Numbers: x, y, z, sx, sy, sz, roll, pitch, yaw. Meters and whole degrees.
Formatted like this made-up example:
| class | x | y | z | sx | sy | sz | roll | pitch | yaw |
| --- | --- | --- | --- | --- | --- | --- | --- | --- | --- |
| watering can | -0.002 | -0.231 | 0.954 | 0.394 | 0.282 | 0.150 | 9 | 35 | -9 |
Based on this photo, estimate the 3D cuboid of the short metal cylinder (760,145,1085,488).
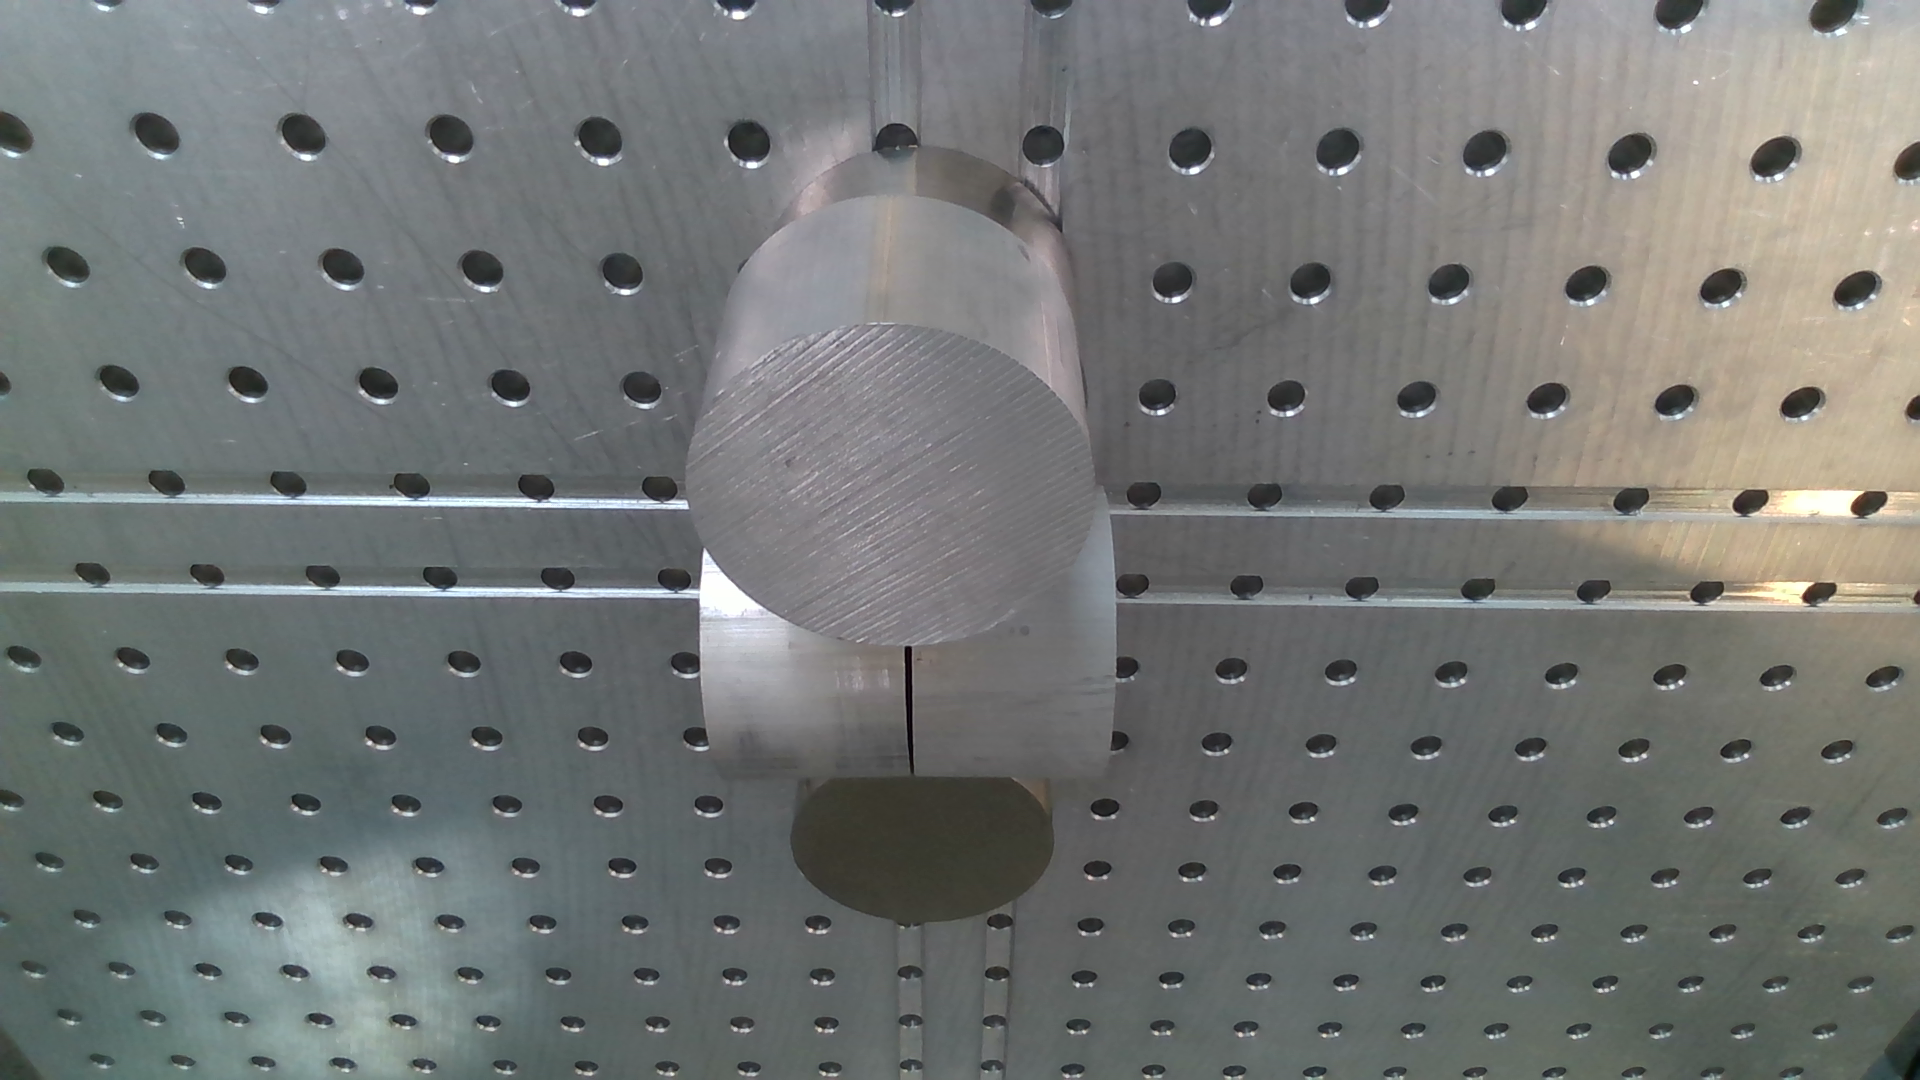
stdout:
| class | x | y | z | sx | sy | sz | roll | pitch | yaw |
| --- | --- | --- | --- | --- | --- | --- | --- | --- | --- |
| short metal cylinder | -0.011 | -0.048 | 0.335 | 0.080 | 0.050 | 0.080 | 0 | 130 | 0 |

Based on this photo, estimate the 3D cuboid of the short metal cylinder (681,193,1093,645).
| class | x | y | z | sx | sy | sz | roll | pitch | yaw |
| --- | --- | --- | --- | --- | --- | --- | --- | --- | --- |
| short metal cylinder | -0.014 | -0.024 | 0.288 | 0.080 | 0.050 | 0.080 | 0 | 130 | 0 |

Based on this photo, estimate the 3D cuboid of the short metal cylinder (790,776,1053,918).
| class | x | y | z | sx | sy | sz | roll | pitch | yaw |
| --- | --- | --- | --- | --- | --- | --- | --- | --- | --- |
| short metal cylinder | -0.012 | 0.076 | 0.438 | 0.080 | 0.050 | 0.080 | 0 | 130 | 0 |

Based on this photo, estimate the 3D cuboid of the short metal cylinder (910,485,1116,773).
| class | x | y | z | sx | sy | sz | roll | pitch | yaw |
| --- | --- | --- | --- | --- | --- | --- | --- | --- | --- |
| short metal cylinder | 0.013 | 0.023 | 0.376 | 0.050 | 0.080 | 0.080 | 1 | 130 | 0 |

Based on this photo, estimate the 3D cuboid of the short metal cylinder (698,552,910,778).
| class | x | y | z | sx | sy | sz | roll | pitch | yaw |
| --- | --- | --- | --- | --- | --- | --- | --- | --- | --- |
| short metal cylinder | -0.039 | 0.024 | 0.376 | 0.050 | 0.080 | 0.080 | -1 | 130 | 1 |
